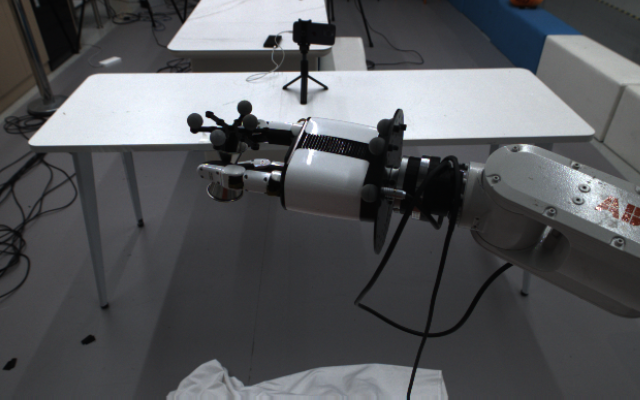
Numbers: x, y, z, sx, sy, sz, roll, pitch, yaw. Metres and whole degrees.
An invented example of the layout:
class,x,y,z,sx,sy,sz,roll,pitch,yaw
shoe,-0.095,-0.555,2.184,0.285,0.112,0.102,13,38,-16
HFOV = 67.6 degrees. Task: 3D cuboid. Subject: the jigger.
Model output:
class,x,y,z,sx,sy,sz,roll,pitch,yaw
jigger,-0.108,-0.036,0.569,0.043,0.071,0.043,10,35,-7
